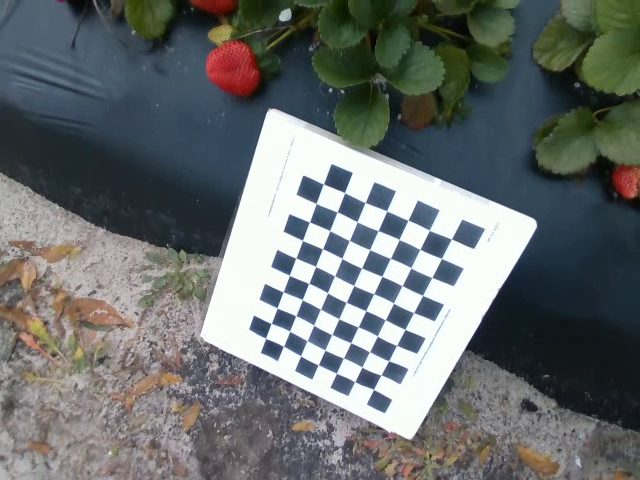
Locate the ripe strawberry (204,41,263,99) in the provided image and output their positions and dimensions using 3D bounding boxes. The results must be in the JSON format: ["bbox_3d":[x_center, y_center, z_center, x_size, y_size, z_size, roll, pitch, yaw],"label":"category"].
[{"bbox_3d":[-0.093,-0.172,0.635,0.057,0.056,0.064,-6,23,39],"label":"ripe strawberry"}]
